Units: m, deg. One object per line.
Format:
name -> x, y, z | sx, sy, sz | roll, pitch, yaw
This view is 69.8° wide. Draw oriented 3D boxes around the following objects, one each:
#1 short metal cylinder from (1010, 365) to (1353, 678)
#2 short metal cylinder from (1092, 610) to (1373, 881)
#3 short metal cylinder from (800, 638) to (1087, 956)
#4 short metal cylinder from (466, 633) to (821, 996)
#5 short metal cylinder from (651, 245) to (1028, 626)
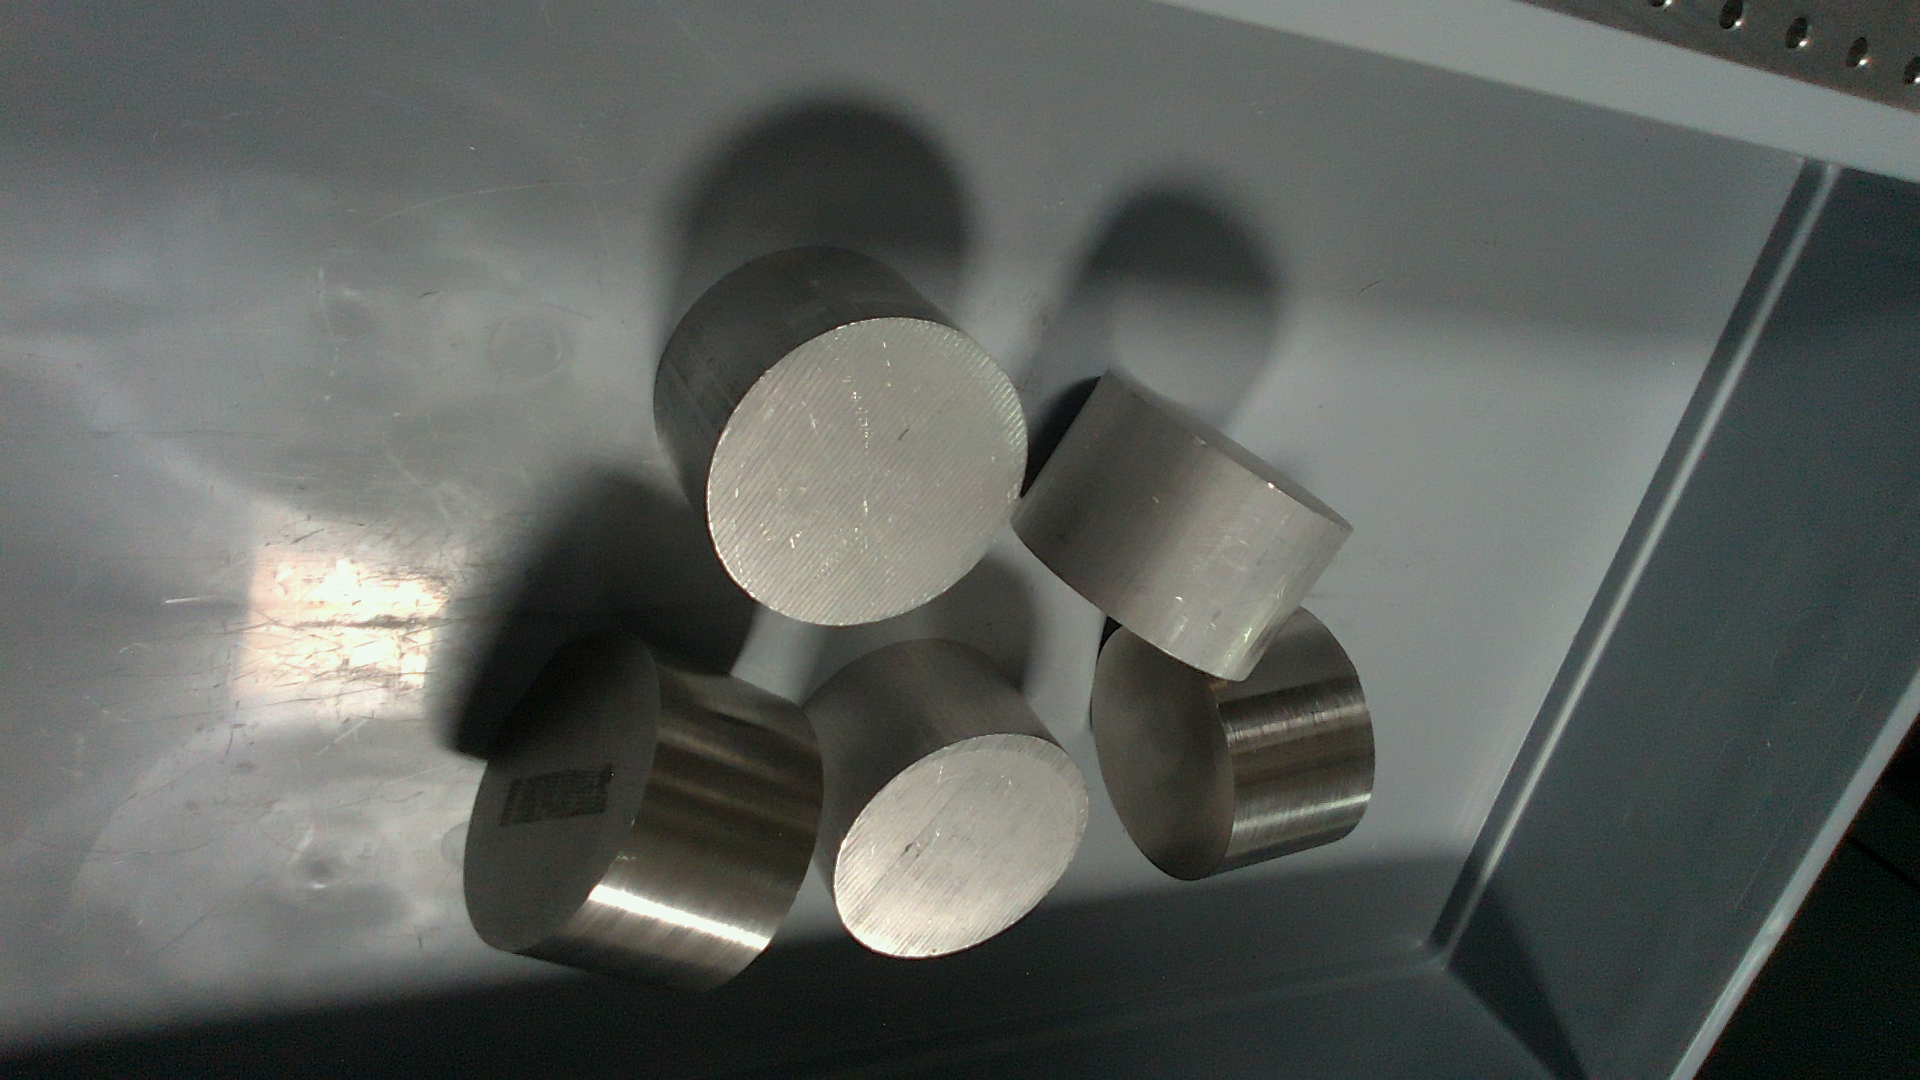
short metal cylinder -> 0.061, -0.006, 0.383 | 0.080, 0.080, 0.050 | 24, 106, -36
short metal cylinder -> 0.084, 0.062, 0.435 | 0.050, 0.080, 0.080 | -9, 122, -24
short metal cylinder -> -0.009, 0.077, 0.414 | 0.080, 0.050, 0.080 | -14, 124, -21
short metal cylinder -> -0.081, 0.070, 0.350 | 0.050, 0.080, 0.080 | 30, 102, -38
short metal cylinder -> -0.030, -0.026, 0.339 | 0.080, 0.050, 0.080 | -14, 124, -21
